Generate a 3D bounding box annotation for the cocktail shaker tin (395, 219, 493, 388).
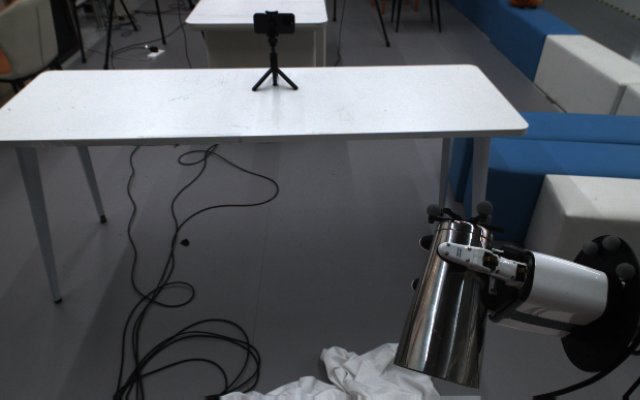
[{"bbox_3d":[0.150,0.112,0.552,0.093,0.093,0.170,12,72,14],"label":"cocktail shaker tin"}]
